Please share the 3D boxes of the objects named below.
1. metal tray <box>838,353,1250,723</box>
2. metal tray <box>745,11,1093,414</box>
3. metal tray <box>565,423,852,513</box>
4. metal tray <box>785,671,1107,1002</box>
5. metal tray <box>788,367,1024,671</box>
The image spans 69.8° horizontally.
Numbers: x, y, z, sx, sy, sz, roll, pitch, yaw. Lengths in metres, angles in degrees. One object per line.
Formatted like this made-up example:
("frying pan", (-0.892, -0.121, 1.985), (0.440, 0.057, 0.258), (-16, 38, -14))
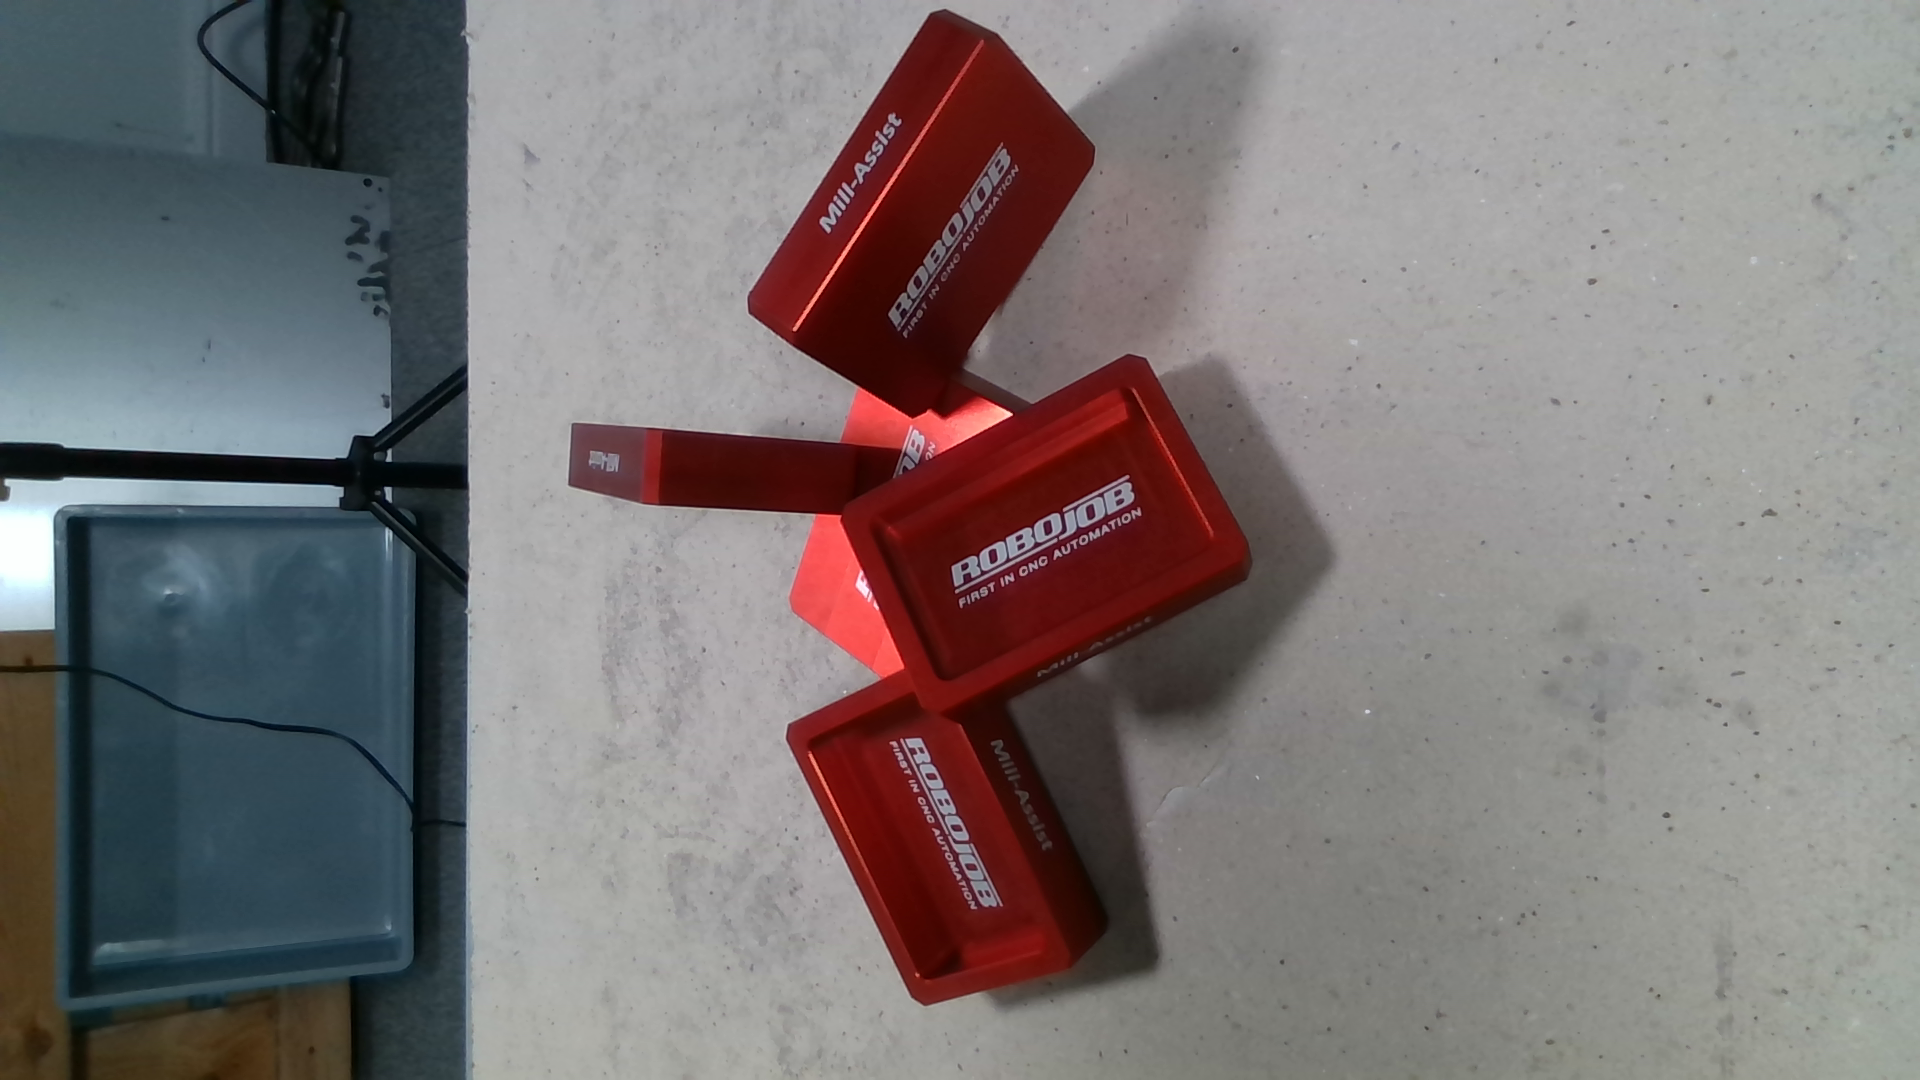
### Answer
("metal tray", (0.031, 0.000, 0.515), (0.130, 0.030, 0.090), (-28, 71, 7))
("metal tray", (-0.013, -0.121, 0.529), (0.030, 0.090, 0.130), (39, 98, 33))
("metal tray", (-0.115, -0.033, 0.611), (0.130, 0.090, 0.030), (10, 97, 60))
("metal tray", (-0.008, 0.117, 0.565), (0.090, 0.030, 0.130), (-28, 88, 37))
("metal tray", (-0.019, -0.010, 0.594), (0.090, 0.030, 0.130), (32, 110, 35))
